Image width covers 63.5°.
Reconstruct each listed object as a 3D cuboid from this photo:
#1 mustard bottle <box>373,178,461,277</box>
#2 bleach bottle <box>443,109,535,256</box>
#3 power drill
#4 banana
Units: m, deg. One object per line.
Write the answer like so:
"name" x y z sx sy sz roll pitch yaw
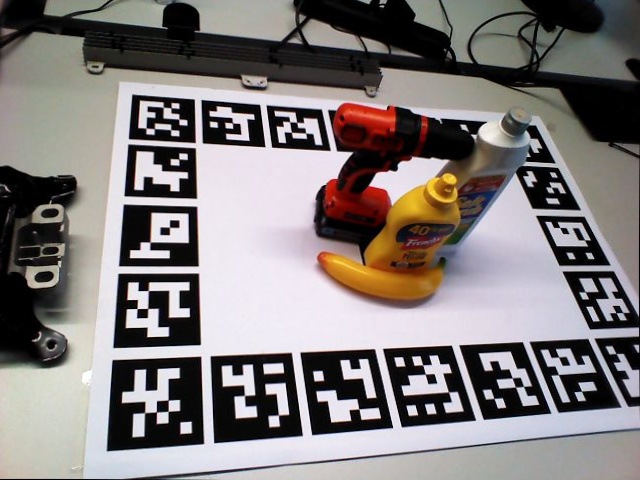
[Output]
"mustard bottle" 0.144 -0.018 0.677 0.096 0.192 0.058 2 56 -15
"bleach bottle" 0.210 -0.078 0.706 0.102 0.252 0.067 4 50 -13
"power drill" 0.101 -0.089 0.688 0.184 0.188 0.057 12 53 -9
"banana" 0.108 0.053 0.726 0.197 0.039 0.074 4 57 -10
